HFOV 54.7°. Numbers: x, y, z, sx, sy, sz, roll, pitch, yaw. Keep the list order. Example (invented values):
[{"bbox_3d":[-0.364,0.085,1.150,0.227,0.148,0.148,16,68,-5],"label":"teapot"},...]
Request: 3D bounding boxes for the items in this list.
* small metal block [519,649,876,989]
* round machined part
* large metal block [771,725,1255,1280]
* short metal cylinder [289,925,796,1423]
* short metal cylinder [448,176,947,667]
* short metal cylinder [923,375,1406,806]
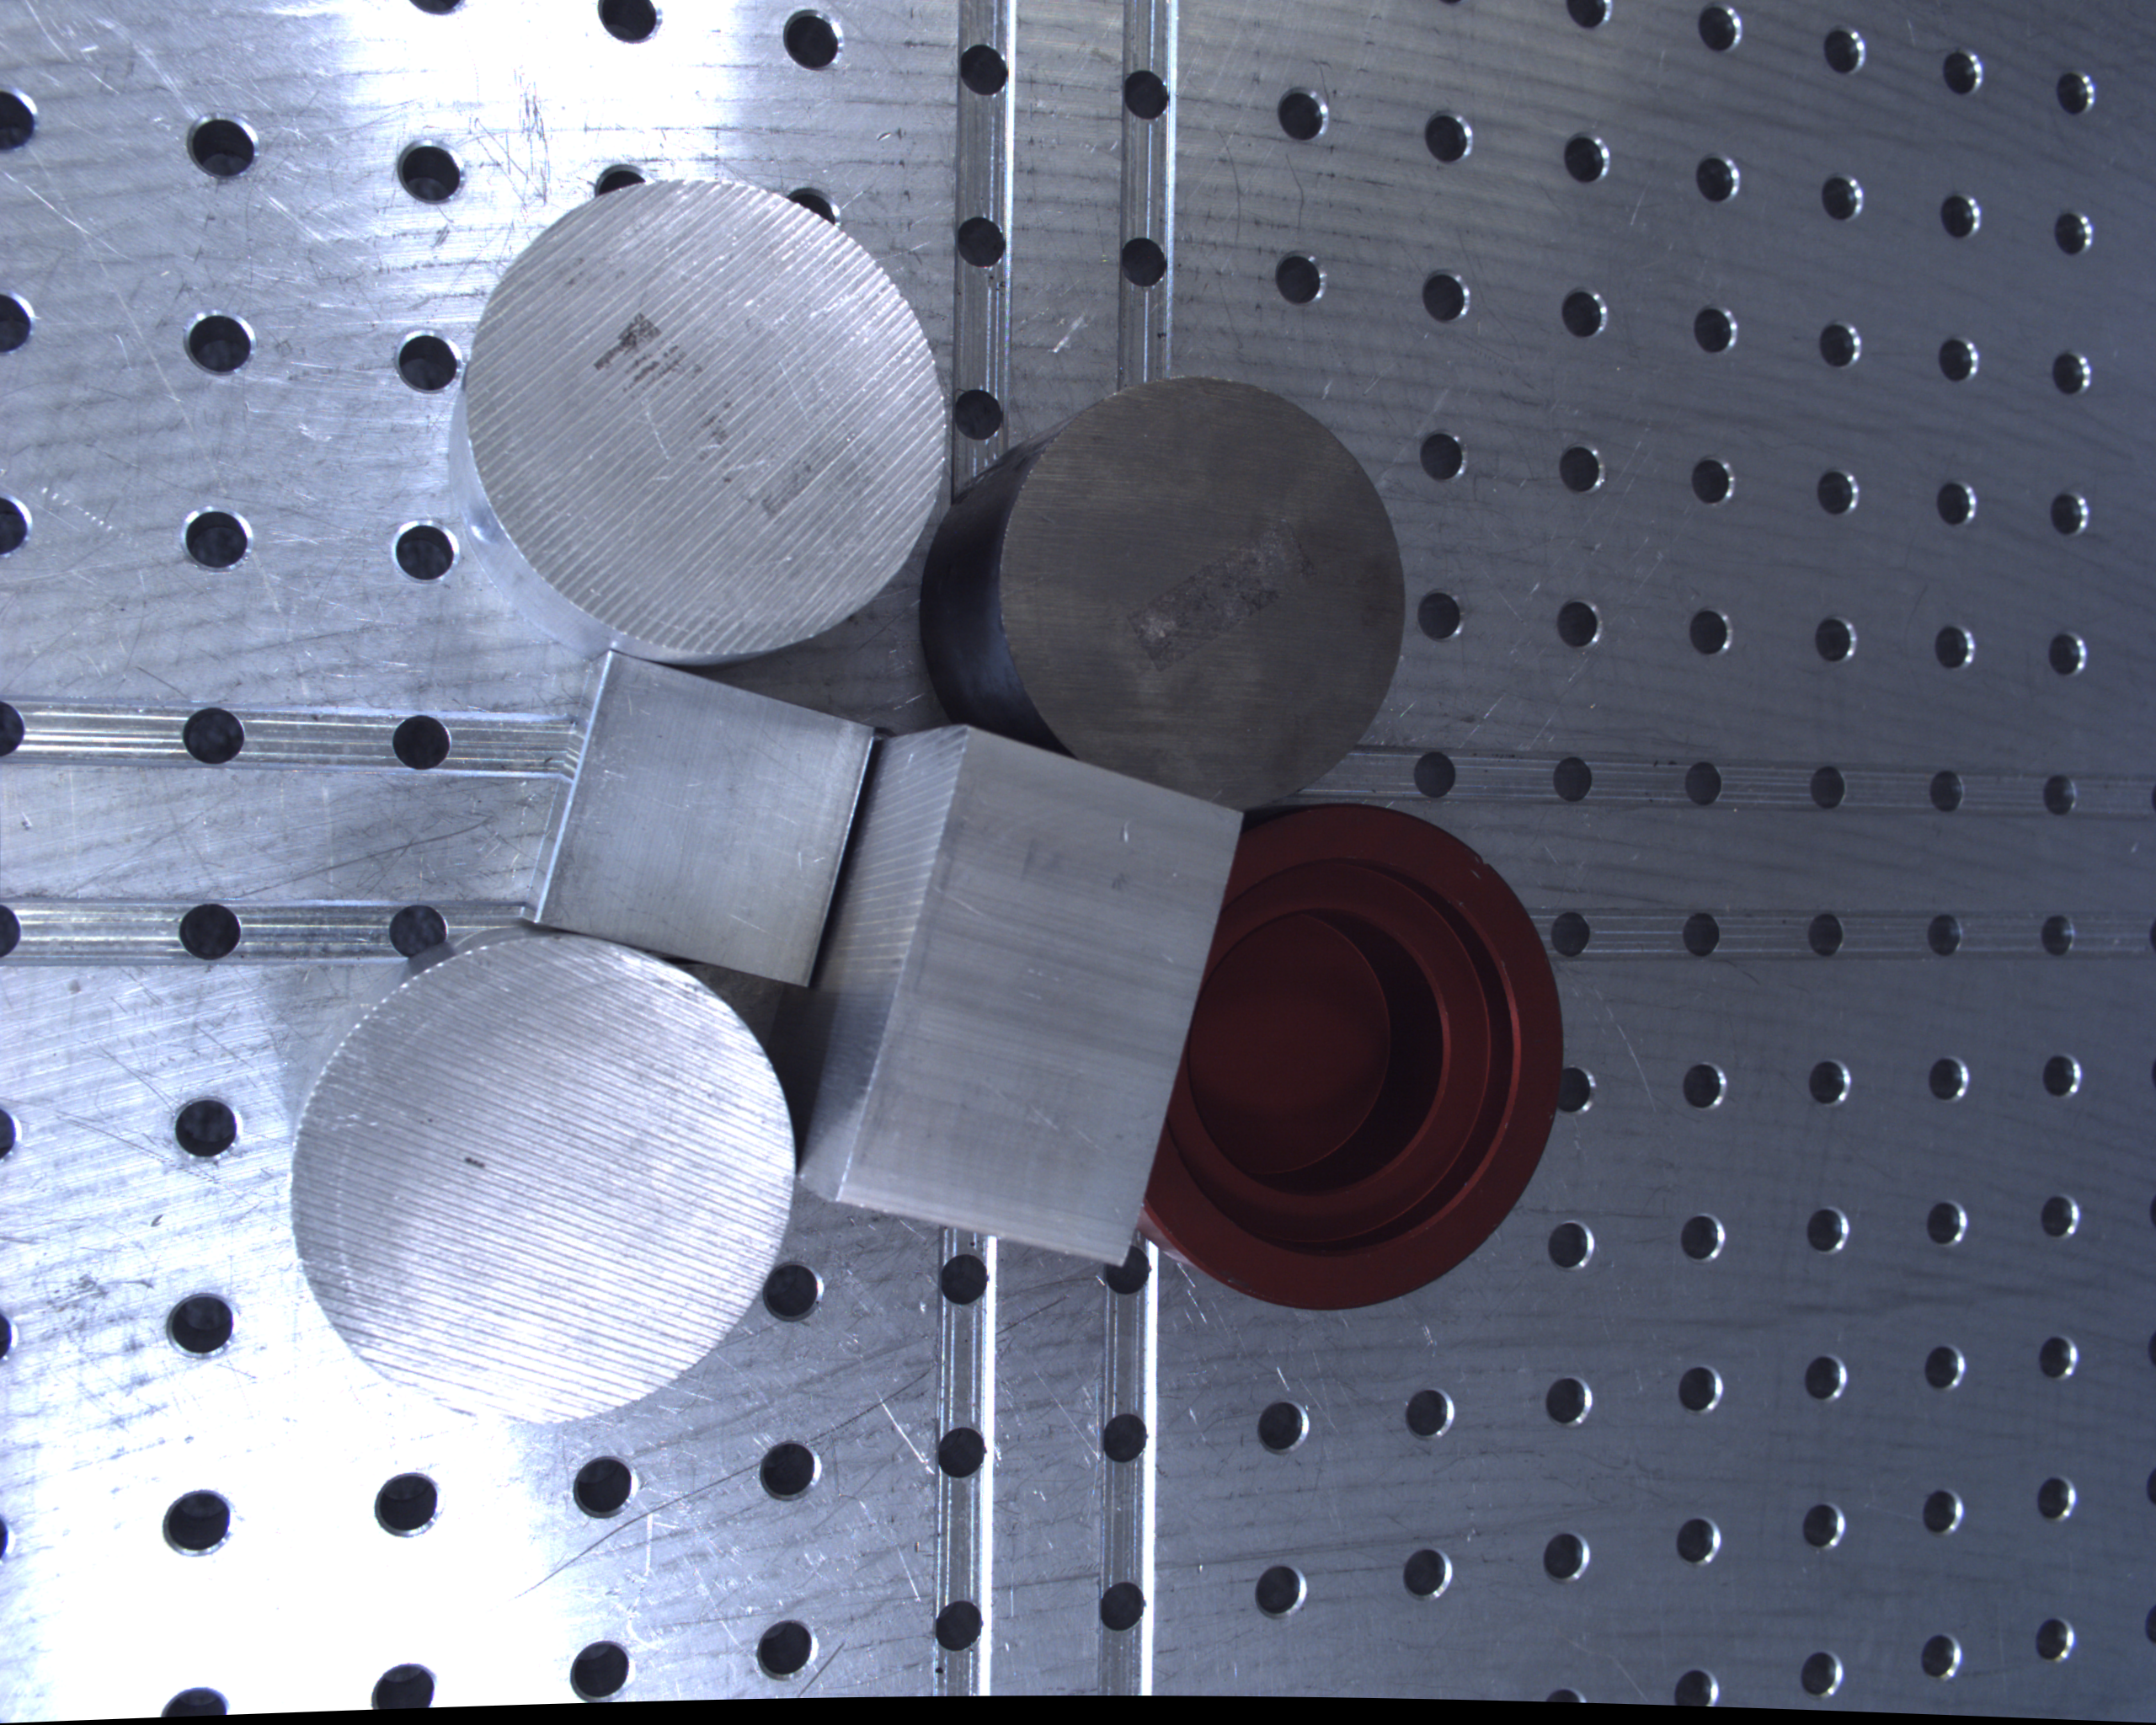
[{"bbox_3d":[-0.071,-0.007,0.386,0.050,0.025,0.050,16,85,-20],"label":"small metal block"},{"bbox_3d":[0.044,0.037,0.420,0.099,0.042,0.097,0,90,-20],"label":"round machined part"},{"bbox_3d":[-0.017,0.023,0.374,0.050,0.080,0.080,17,85,-19],"label":"large metal block"},{"bbox_3d":[-0.094,0.051,0.364,0.081,0.050,0.080,0,90,-20],"label":"short metal cylinder"},{"bbox_3d":[-0.069,-0.075,0.373,0.081,0.050,0.080,0,90,-20],"label":"short metal cylinder"},{"bbox_3d":[0.016,-0.049,0.405,0.081,0.050,0.080,0,90,-20],"label":"short metal cylinder"}]
